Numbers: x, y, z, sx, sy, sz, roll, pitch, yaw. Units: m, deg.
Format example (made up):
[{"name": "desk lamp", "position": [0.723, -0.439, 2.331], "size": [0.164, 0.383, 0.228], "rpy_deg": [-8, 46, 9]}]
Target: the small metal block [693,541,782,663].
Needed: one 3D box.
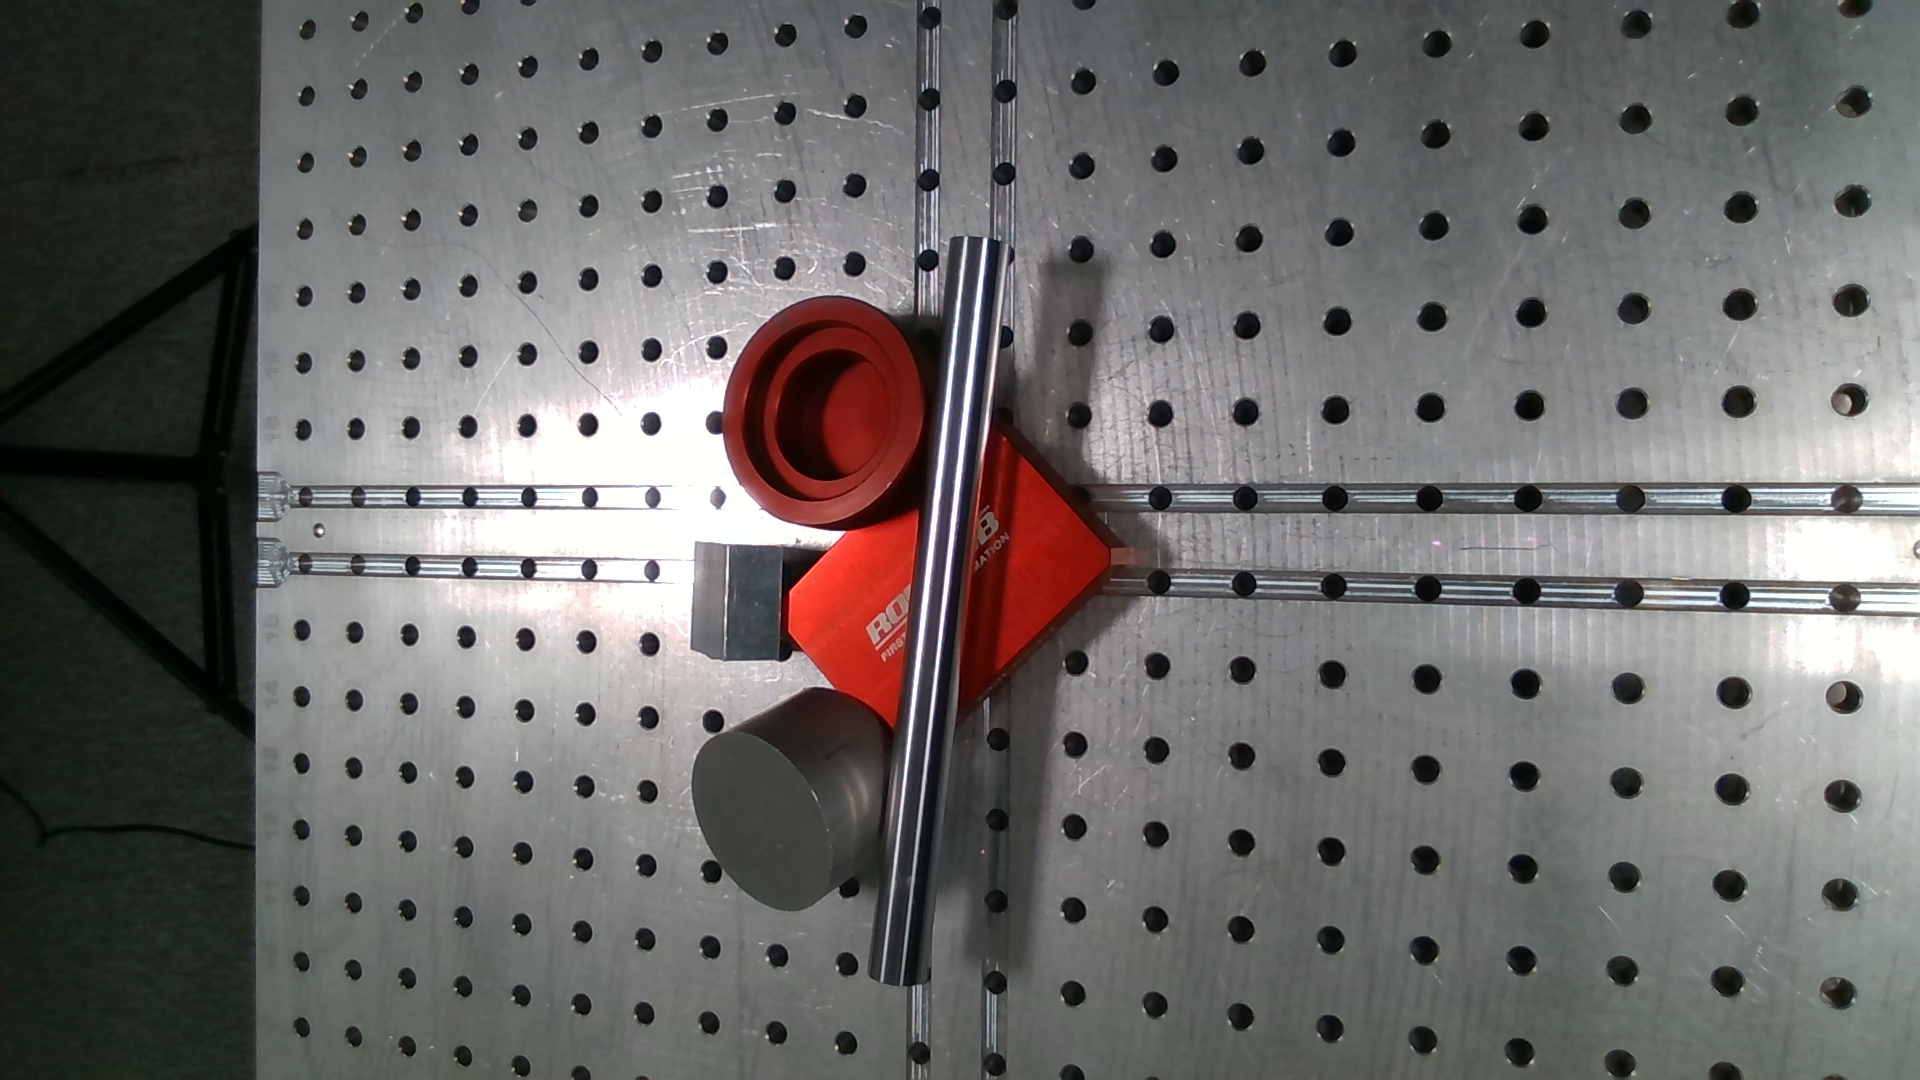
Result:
[{"name": "small metal block", "position": [-0.100, 0.027, 0.611], "size": [0.050, 0.025, 0.050], "rpy_deg": [5, 94, 63]}]

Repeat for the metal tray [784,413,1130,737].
[{"name": "metal tray", "position": [-0.003, 0.020, 0.588], "size": [0.130, 0.030, 0.090], "rpy_deg": [-45, 76, 15]}]

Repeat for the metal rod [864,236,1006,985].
[{"name": "metal rod", "position": [-0.010, 0.030, 0.559], "size": [0.025, 0.025, 0.300], "rpy_deg": [8, 93, 20]}]

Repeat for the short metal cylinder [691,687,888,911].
[{"name": "short metal cylinder", "position": [-0.068, 0.109, 0.585], "size": [0.080, 0.050, 0.080], "rpy_deg": [16, 117, 34]}]

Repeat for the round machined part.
[{"name": "round machined part", "position": [-0.050, -0.053, 0.592], "size": [0.098, 0.042, 0.098], "rpy_deg": [-3, 84, 26]}]
